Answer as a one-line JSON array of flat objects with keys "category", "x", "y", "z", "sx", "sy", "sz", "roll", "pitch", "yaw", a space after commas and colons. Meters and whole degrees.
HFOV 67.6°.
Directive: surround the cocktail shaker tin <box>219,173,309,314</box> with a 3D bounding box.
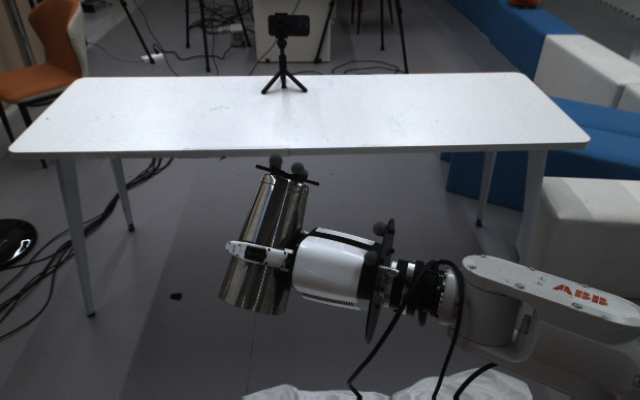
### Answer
[{"category": "cocktail shaker tin", "x": -0.067, "y": 0.057, "z": 0.646, "sx": 0.093, "sy": 0.170, "sz": 0.093, "roll": 15, "pitch": -4, "yaw": 1}]
